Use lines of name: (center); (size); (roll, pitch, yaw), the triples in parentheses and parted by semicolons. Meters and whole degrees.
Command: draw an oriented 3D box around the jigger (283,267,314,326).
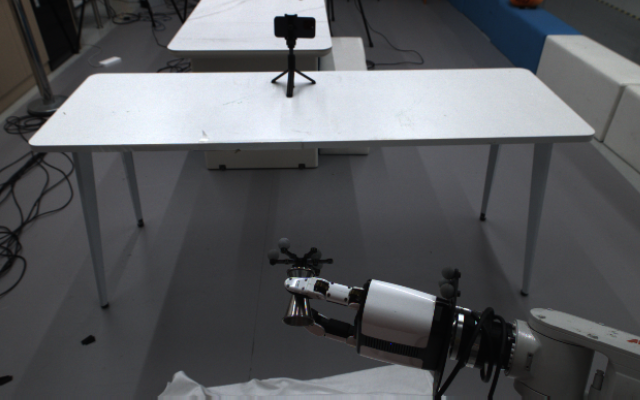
jigger: (-0.027, 0.126, 0.644); (0.043, 0.043, 0.071); (2, 59, 0)
